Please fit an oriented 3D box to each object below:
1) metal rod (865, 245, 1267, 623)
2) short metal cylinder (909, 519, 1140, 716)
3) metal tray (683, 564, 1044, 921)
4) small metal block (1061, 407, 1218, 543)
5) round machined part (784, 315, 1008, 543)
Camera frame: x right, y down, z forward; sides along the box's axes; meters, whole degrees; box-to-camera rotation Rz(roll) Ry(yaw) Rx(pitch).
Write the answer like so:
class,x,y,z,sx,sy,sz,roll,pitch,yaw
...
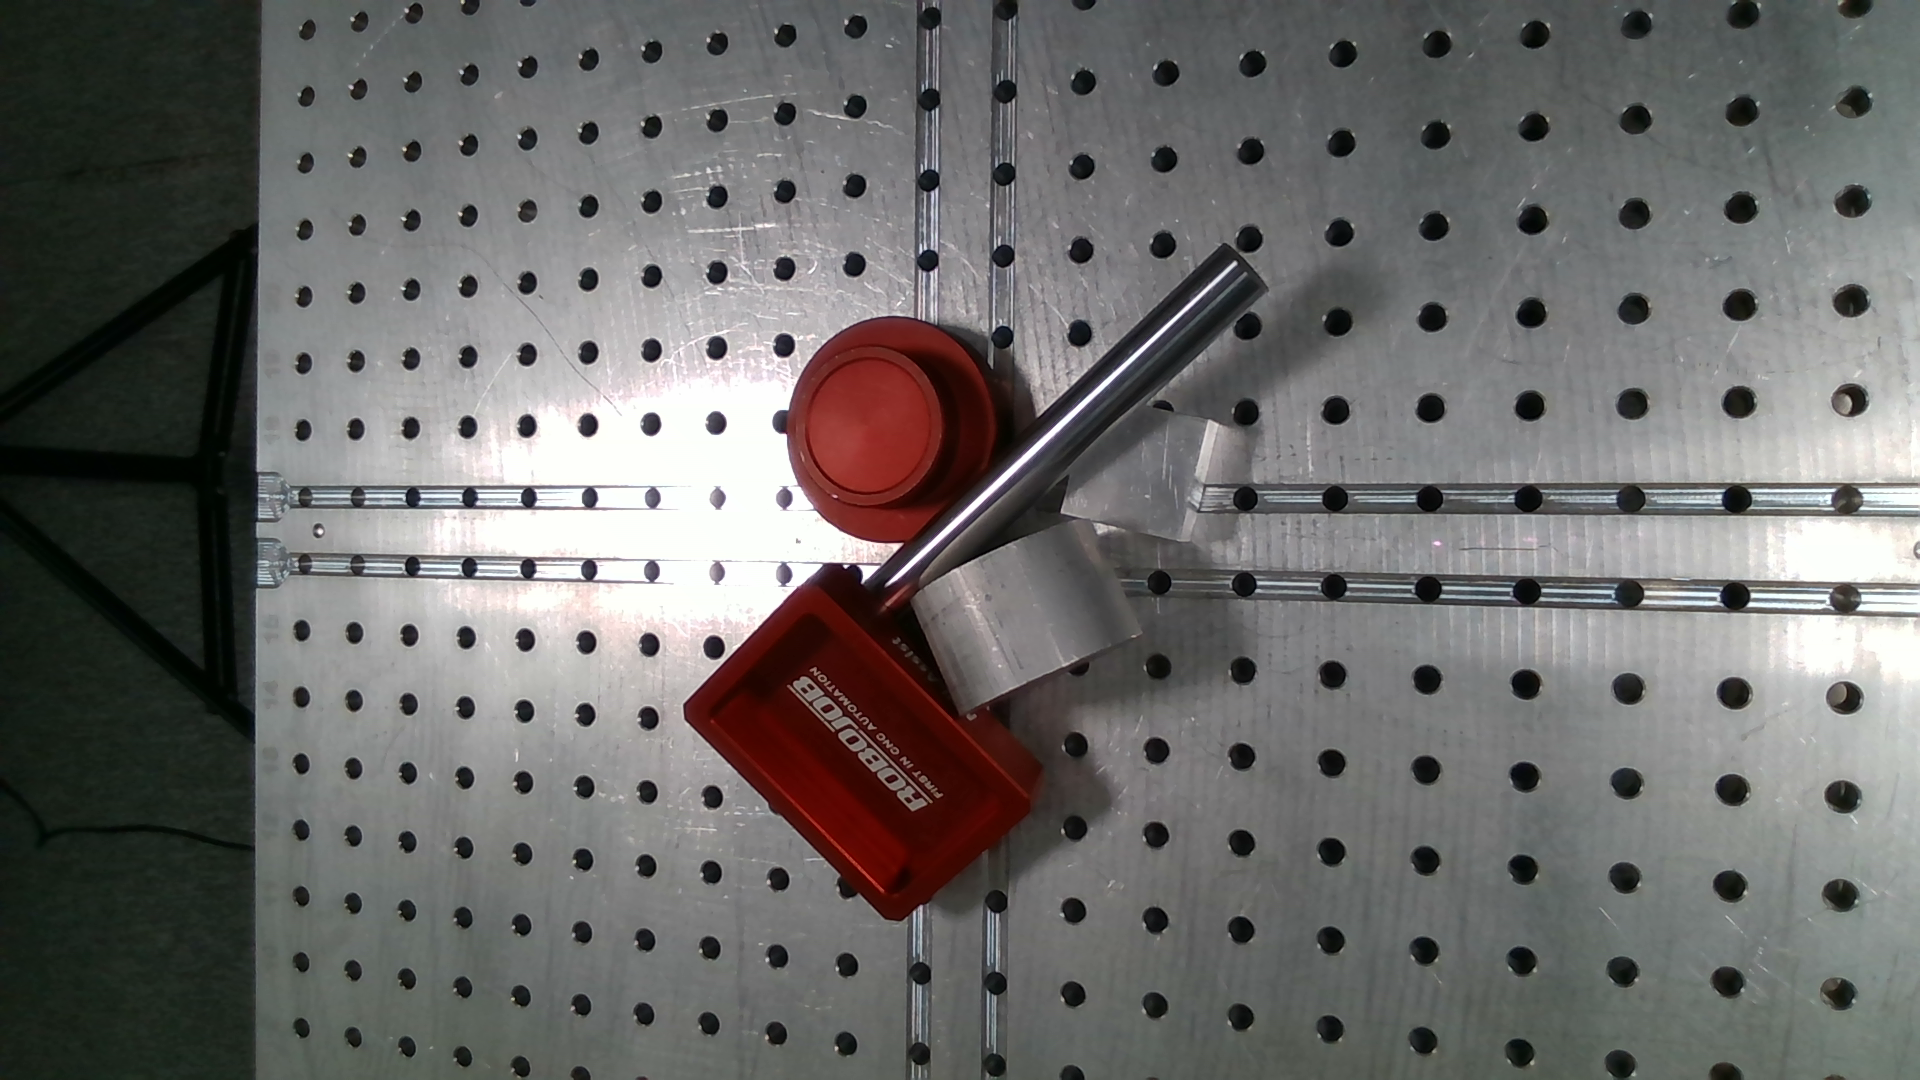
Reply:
class,x,y,z,sx,sy,sz,roll,pitch,yaw
metal rod,0.005,-0.006,0.568,0.301,0.025,0.025,-43,76,23
short metal cylinder,0.026,0.031,0.549,0.080,0.080,0.050,-27,81,18
metal tray,-0.041,0.086,0.579,0.130,0.030,0.090,45,113,-1
small metal block,0.074,-0.029,0.561,0.050,0.025,0.050,14,95,20
round machined part,-0.032,-0.048,0.589,0.098,0.042,0.098,0,91,20
